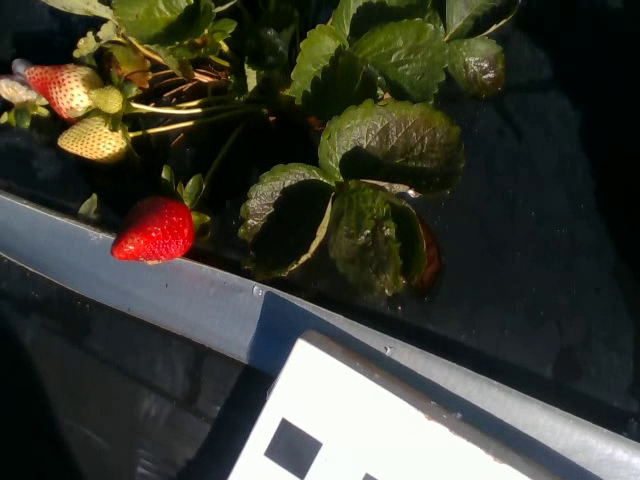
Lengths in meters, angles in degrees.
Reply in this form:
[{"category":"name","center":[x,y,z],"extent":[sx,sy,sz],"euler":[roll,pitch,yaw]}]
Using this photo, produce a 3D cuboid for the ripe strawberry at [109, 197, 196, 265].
[{"category":"ripe strawberry","center":[-0.076,-0.001,0.247],"extent":[0.036,0.038,0.045],"euler":[27,30,14]}]
